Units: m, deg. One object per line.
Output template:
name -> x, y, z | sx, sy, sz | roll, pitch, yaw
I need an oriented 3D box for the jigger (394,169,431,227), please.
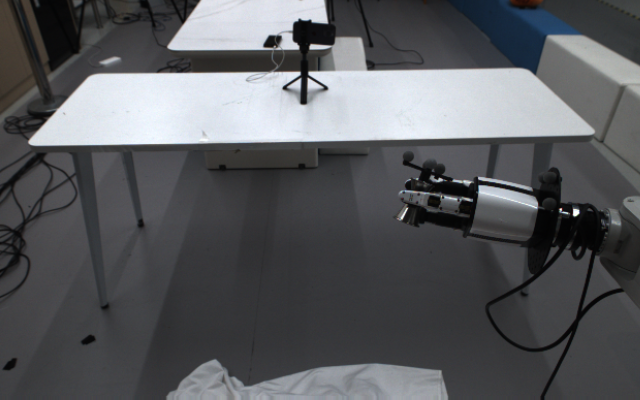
jigger -> 0.144, 0.001, 0.744 | 0.043, 0.071, 0.043 | 22, 5, -2
